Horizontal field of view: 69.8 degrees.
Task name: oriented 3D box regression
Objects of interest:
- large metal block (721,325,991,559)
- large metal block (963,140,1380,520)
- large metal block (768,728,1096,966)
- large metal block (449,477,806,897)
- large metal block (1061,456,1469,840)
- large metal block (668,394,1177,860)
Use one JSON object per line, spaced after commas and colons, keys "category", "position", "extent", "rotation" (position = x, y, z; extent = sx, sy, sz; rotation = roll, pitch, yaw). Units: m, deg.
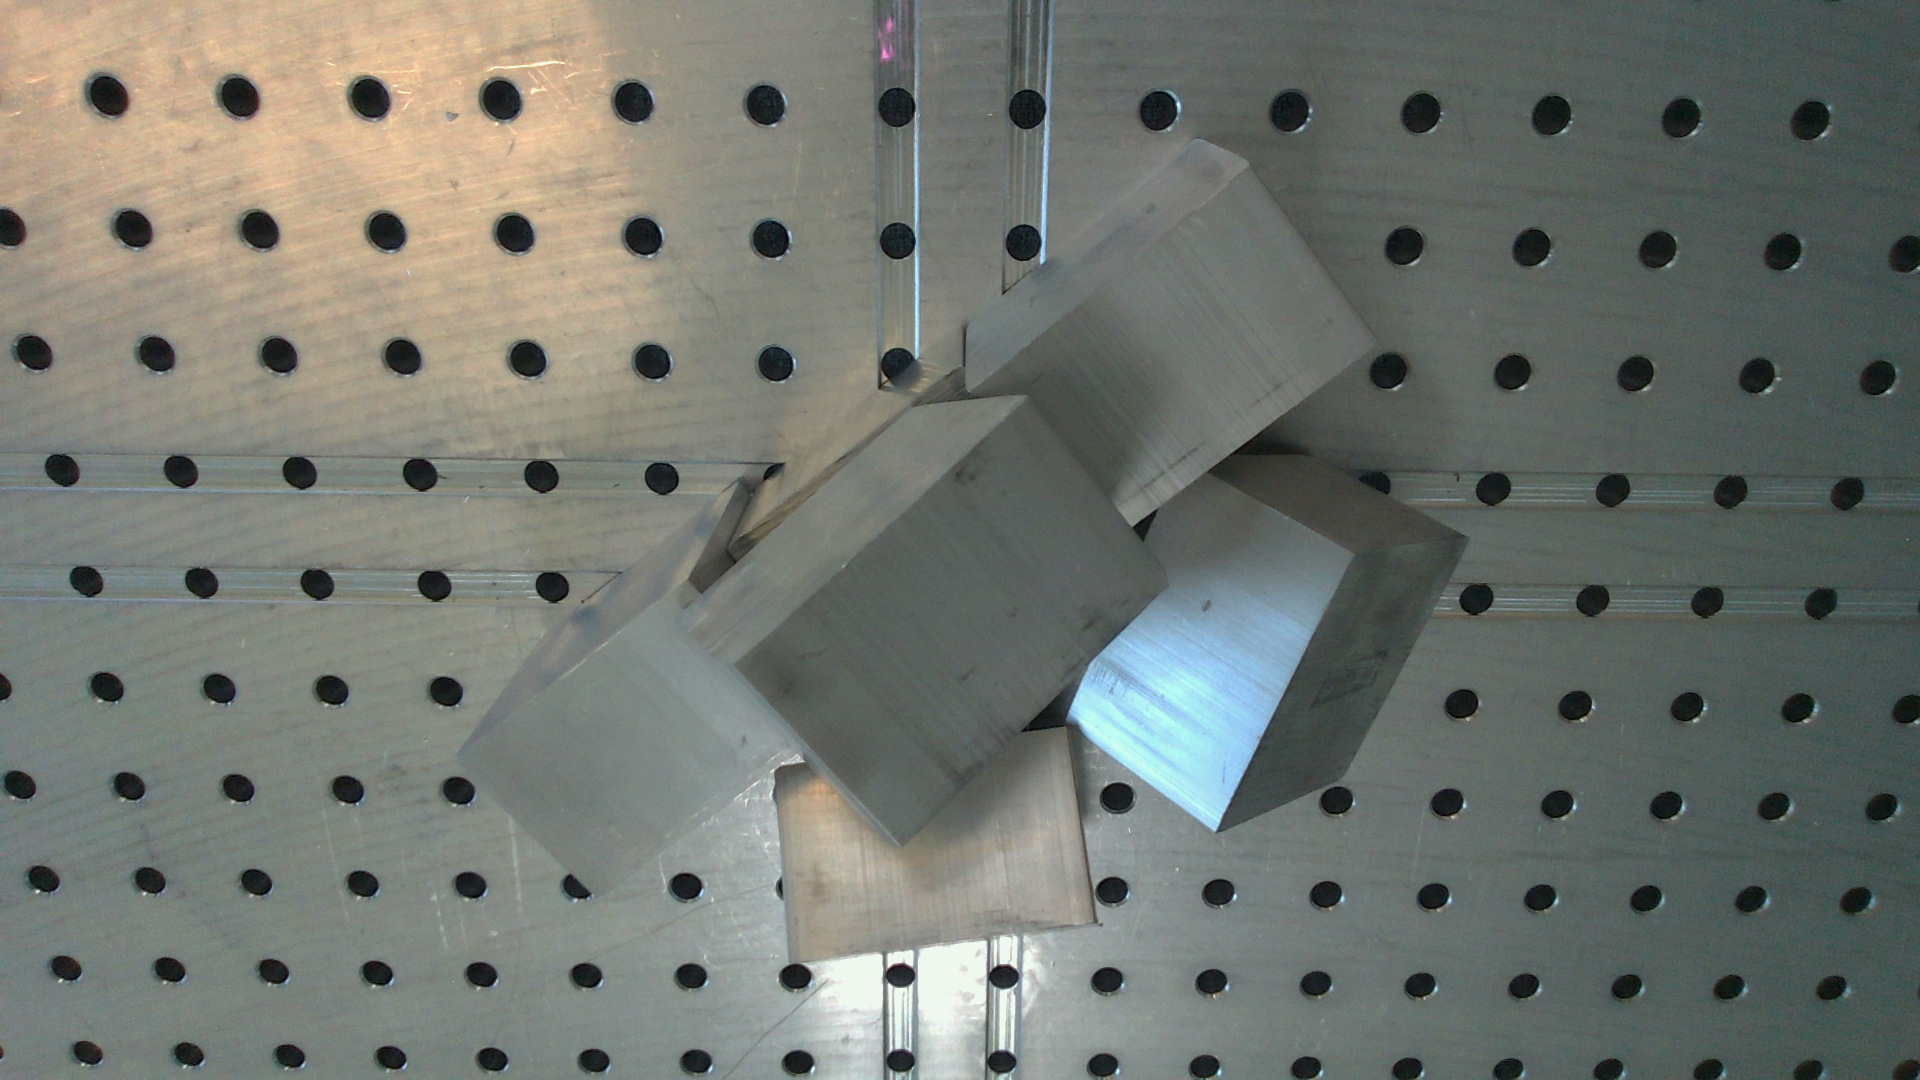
{"category": "large metal block", "position": [-0.006, 0.000, 0.384], "extent": [0.080, 0.050, 0.080], "rotation": [-37, 106, 13]}
{"category": "large metal block", "position": [0.047, -0.053, 0.348], "extent": [0.080, 0.080, 0.050], "rotation": [-38, 106, 12]}
{"category": "large metal block", "position": [-0.005, 0.090, 0.393], "extent": [0.080, 0.080, 0.050], "rotation": [-8, 73, 3]}
{"category": "large metal block", "position": [-0.081, 0.037, 0.379], "extent": [0.080, 0.080, 0.050], "rotation": [-37, 106, 12]}
{"category": "large metal block", "position": [0.082, 0.025, 0.369], "extent": [0.050, 0.080, 0.080], "rotation": [34, 113, 32]}
{"category": "large metal block", "position": [-0.013, 0.014, 0.305], "extent": [0.080, 0.080, 0.050], "rotation": [-43, 106, -12]}
